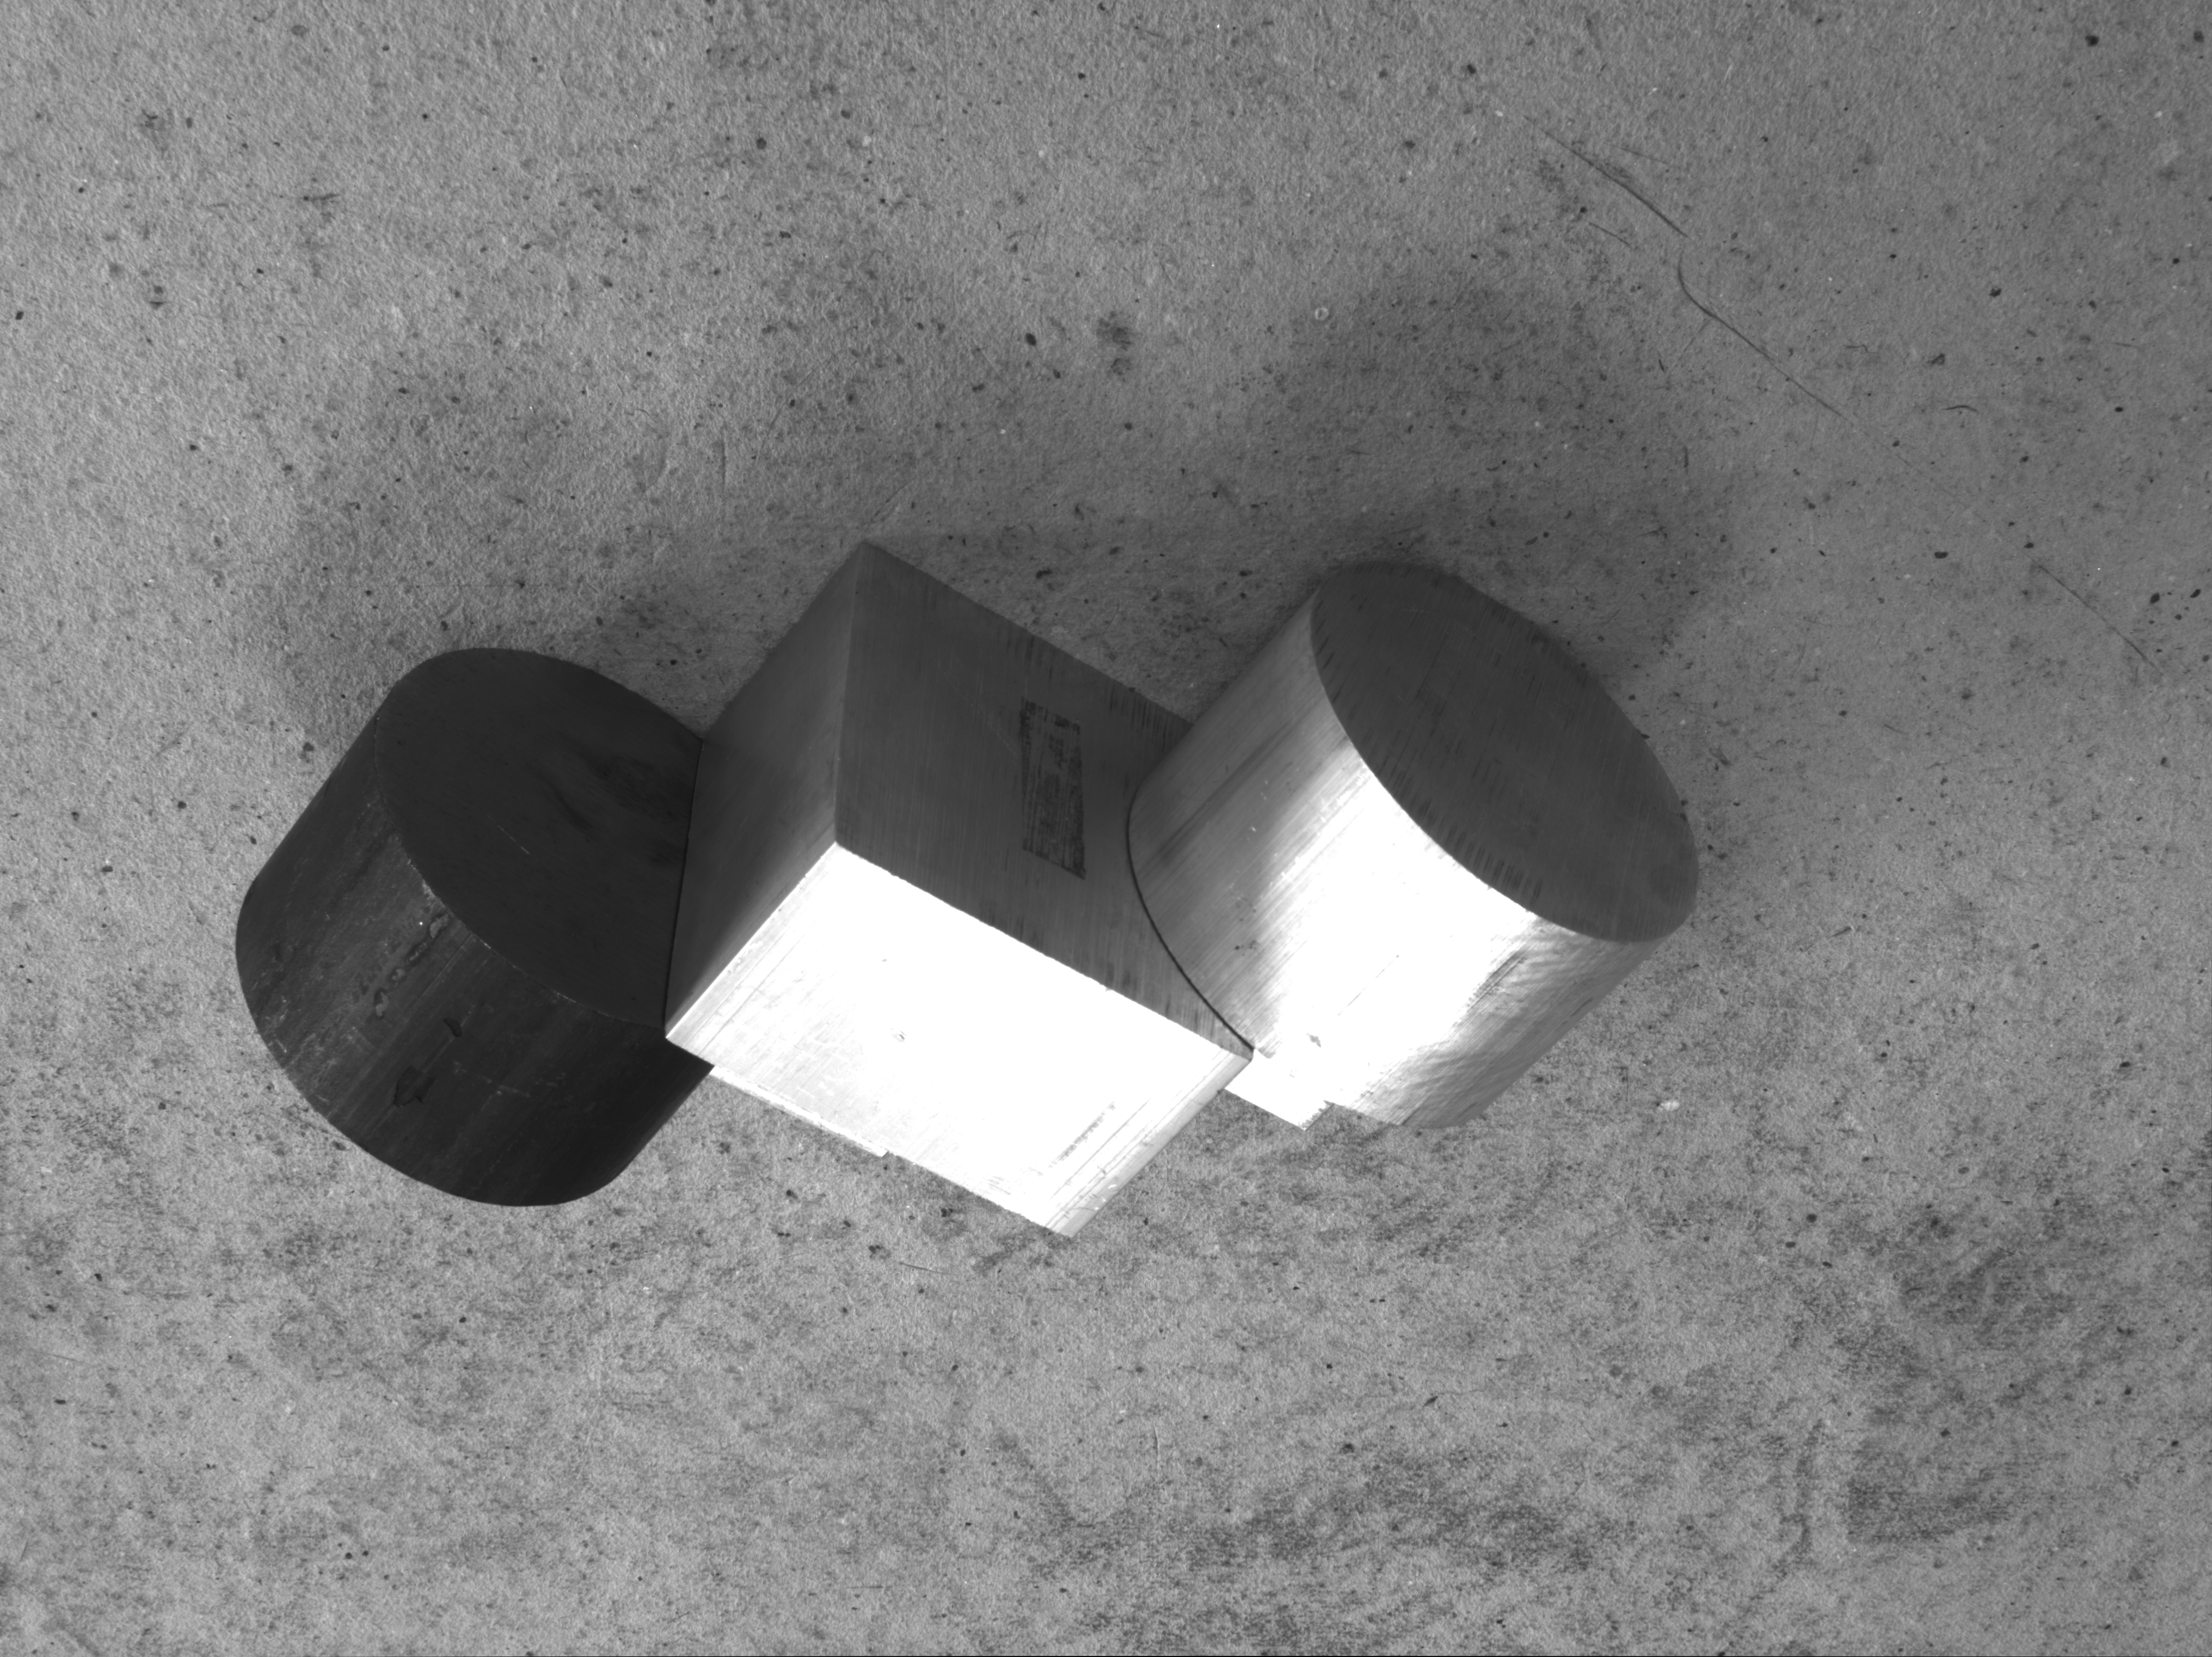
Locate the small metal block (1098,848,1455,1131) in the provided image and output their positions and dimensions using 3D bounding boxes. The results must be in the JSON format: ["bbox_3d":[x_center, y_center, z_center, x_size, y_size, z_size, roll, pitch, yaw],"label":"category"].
[{"bbox_3d":[0.030,0.020,0.658,0.050,0.025,0.050,28,124,-22],"label":"small metal block"}]

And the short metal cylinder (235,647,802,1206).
[{"bbox_3d":[-0.098,0.016,0.618,0.080,0.080,0.050,28,125,-22],"label":"short metal cylinder"}]

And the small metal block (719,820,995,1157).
[{"bbox_3d":[-0.048,0.026,0.662,0.050,0.025,0.050,28,124,-22],"label":"small metal block"}]

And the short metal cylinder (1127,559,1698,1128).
[{"bbox_3d":[0.051,0.002,0.606,0.080,0.080,0.050,29,124,-22],"label":"short metal cylinder"}]

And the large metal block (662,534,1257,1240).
[{"bbox_3d":[-0.023,0.009,0.613,0.080,0.080,0.050,28,124,-22],"label":"large metal block"}]
